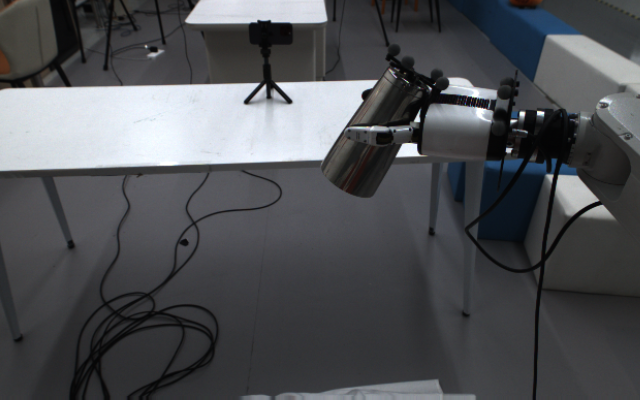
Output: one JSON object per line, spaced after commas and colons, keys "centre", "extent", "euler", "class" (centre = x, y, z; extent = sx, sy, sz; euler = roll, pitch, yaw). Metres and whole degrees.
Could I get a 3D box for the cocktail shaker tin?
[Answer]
{"centre": [0.081, -0.102, 0.686], "extent": [0.093, 0.170, 0.093], "euler": [25, 29, -15], "class": "cocktail shaker tin"}
